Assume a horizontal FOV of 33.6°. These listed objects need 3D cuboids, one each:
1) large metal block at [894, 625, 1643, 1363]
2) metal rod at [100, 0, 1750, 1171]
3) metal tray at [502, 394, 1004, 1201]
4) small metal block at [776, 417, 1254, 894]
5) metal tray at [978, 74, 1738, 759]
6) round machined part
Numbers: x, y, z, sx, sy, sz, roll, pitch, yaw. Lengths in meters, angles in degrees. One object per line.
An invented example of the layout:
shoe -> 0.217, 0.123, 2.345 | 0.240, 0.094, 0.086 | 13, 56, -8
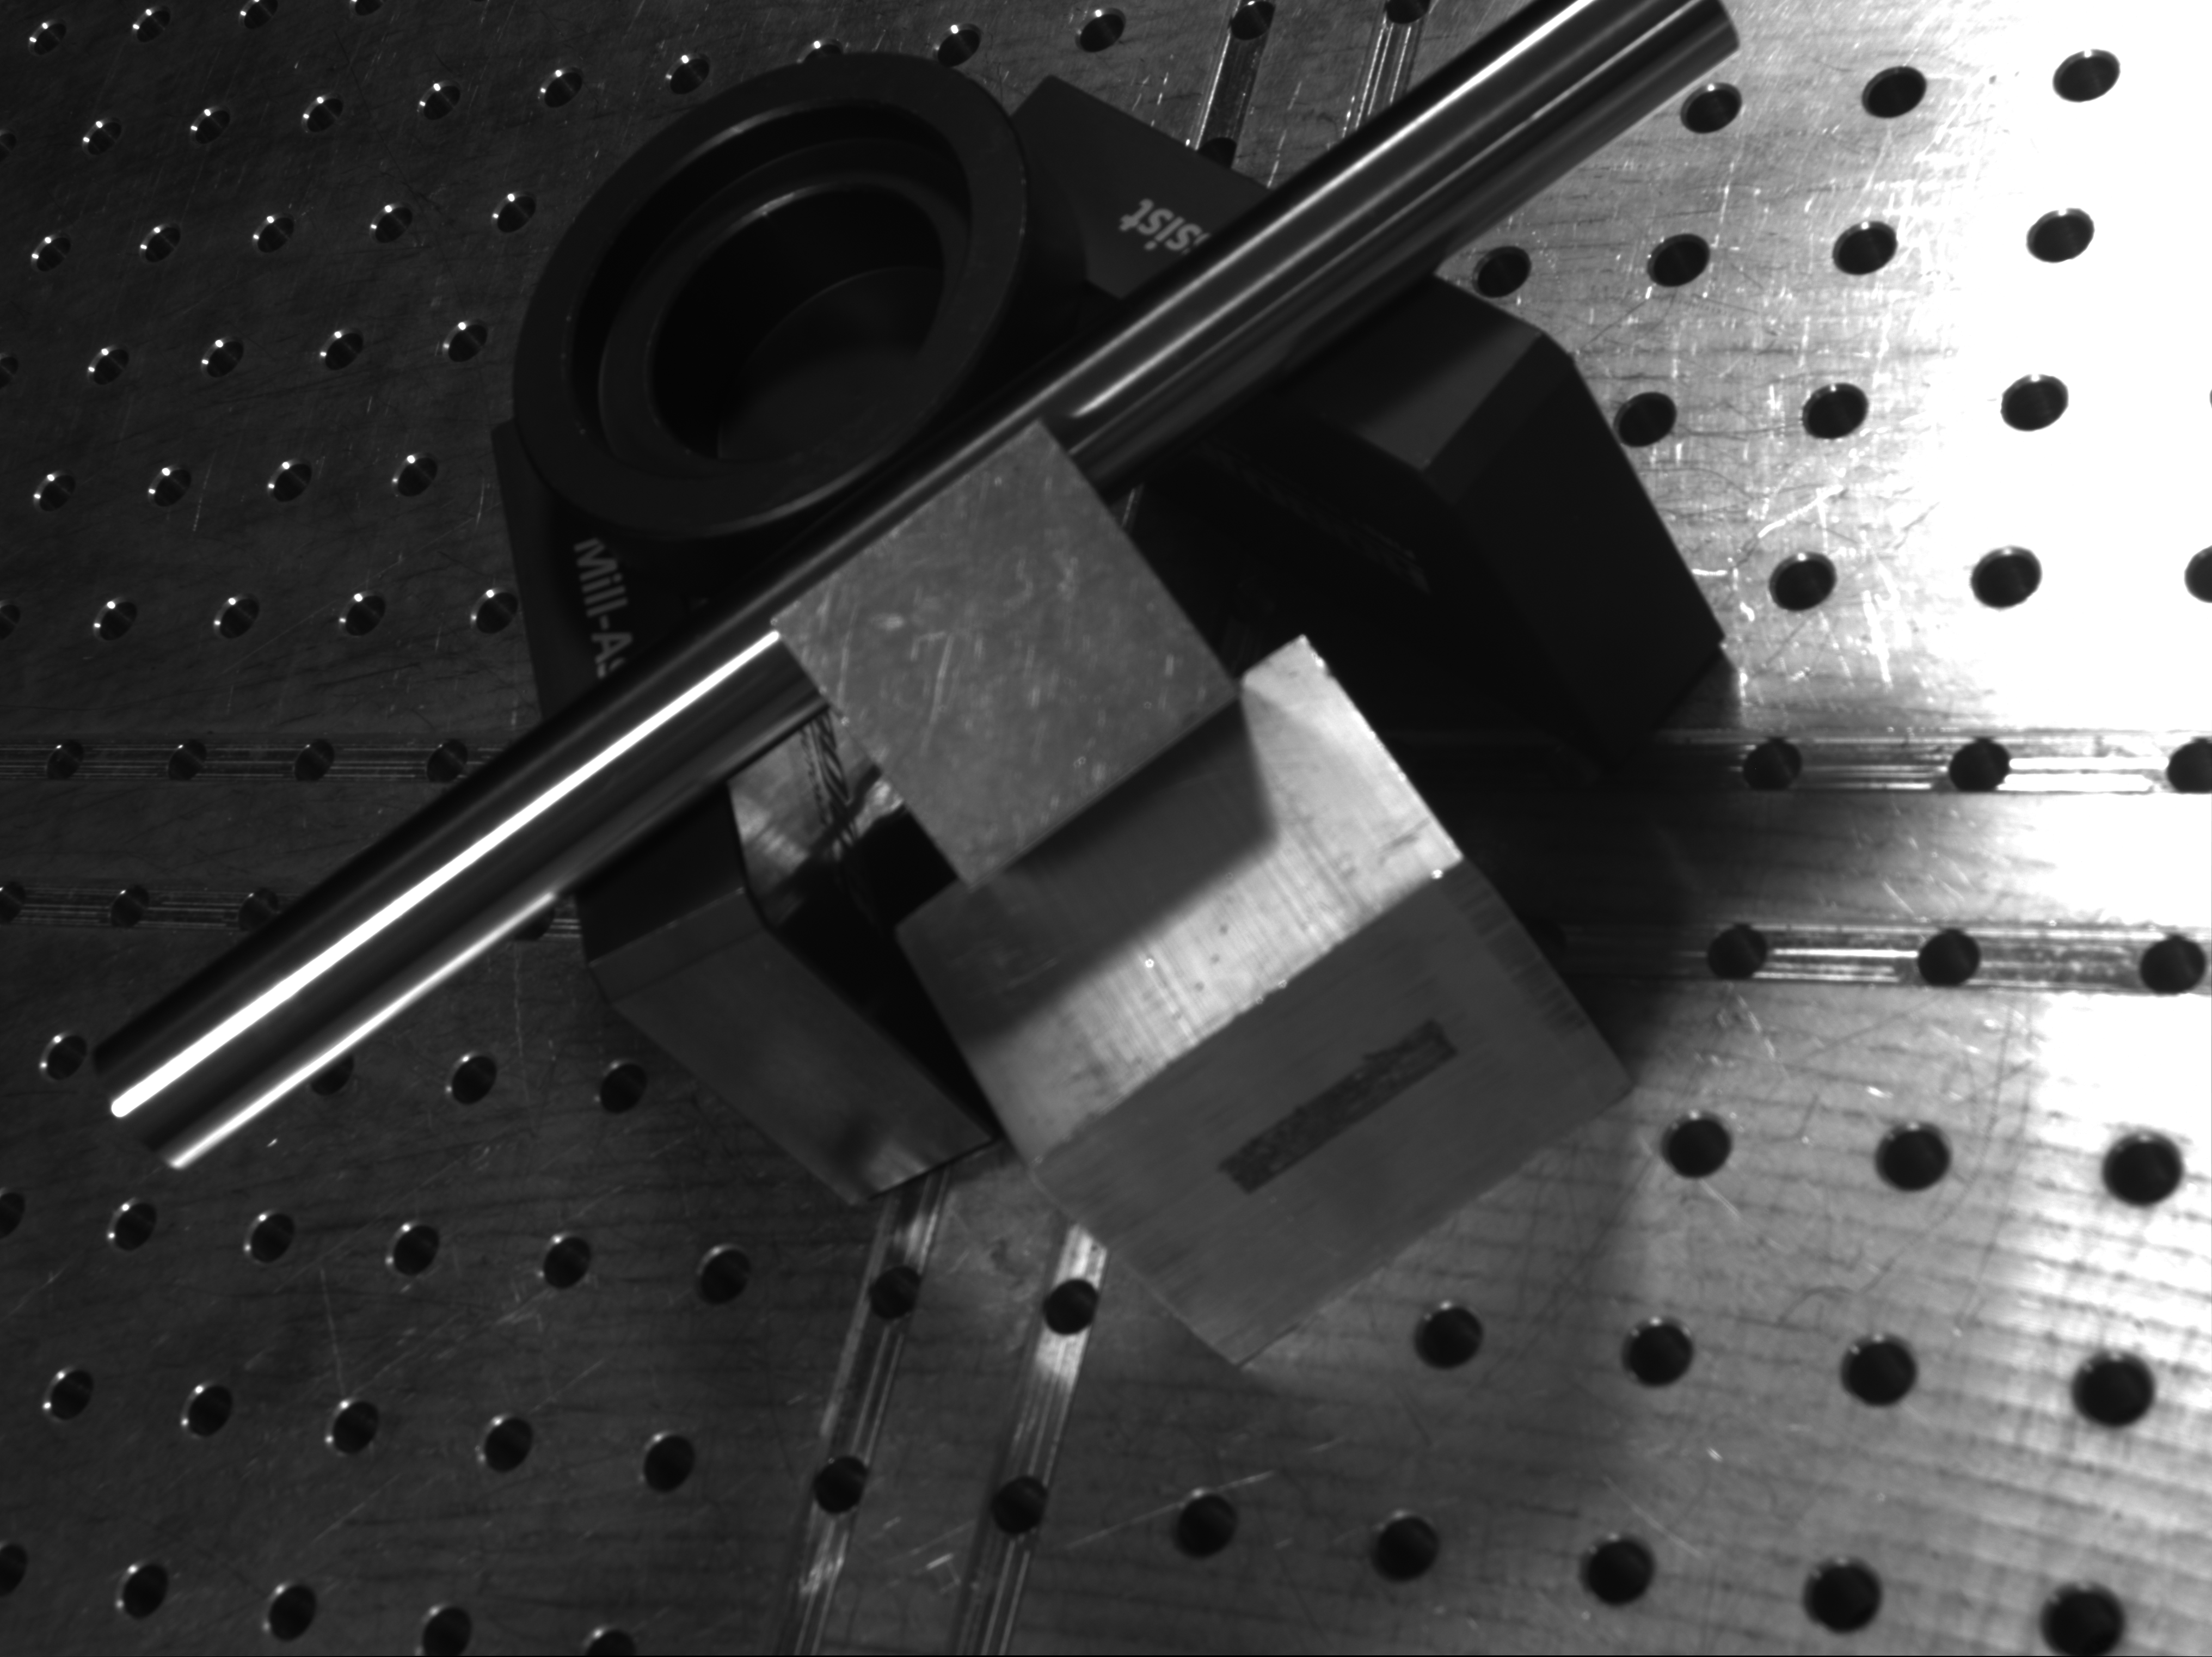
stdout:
large metal block -> 0.027, 0.028, 0.576 | 0.080, 0.080, 0.050 | -36, 51, 4
metal rod -> -0.030, -0.042, 0.573 | 0.300, 0.025, 0.025 | -35, 51, 5
metal tray -> -0.062, -0.010, 0.644 | 0.030, 0.090, 0.130 | -26, 52, 12
small metal block -> -0.013, -0.027, 0.549 | 0.050, 0.050, 0.025 | -37, 6, 4
metal tray -> 0.040, -0.071, 0.627 | 0.030, 0.090, 0.130 | -50, 51, -6
round machined part -> -0.046, -0.080, 0.621 | 0.098, 0.042, 0.098 | -13, 56, 21
